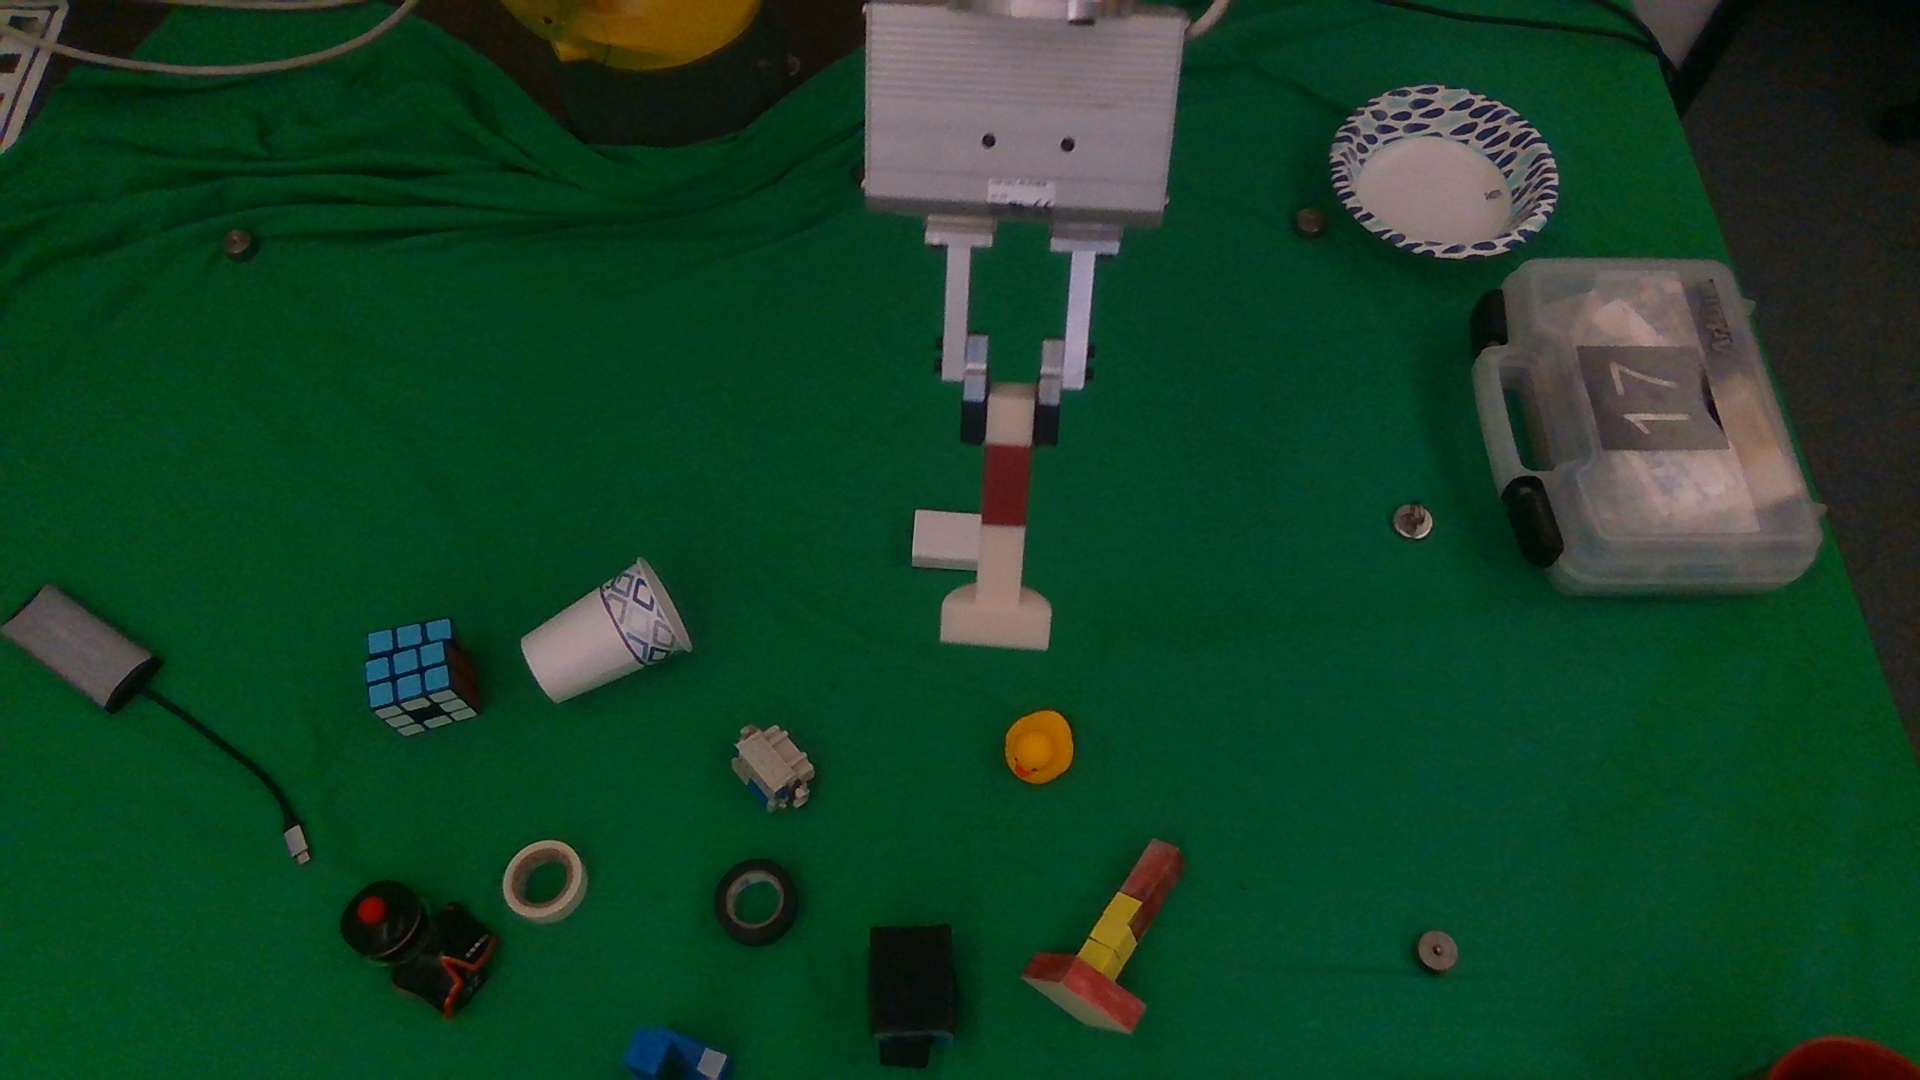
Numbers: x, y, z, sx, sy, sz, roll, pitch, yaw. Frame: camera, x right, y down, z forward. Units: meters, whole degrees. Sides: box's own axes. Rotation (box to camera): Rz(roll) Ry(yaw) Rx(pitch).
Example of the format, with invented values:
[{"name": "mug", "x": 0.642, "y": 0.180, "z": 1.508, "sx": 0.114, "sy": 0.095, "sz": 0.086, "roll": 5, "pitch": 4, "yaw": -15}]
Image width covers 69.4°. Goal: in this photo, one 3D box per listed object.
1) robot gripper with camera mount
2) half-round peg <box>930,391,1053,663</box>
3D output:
[{"name": "robot gripper with camera mount", "x": 0.021, "y": -0.146, "z": 0.631, "sx": 0.119, "sy": 0.158, "sz": 0.193, "roll": 6, "pitch": 29, "yaw": 3}, {"name": "half-round peg", "x": 0.017, "y": -0.005, "z": 0.610, "sx": 0.054, "sy": 0.122, "sz": 0.031, "roll": 5, "pitch": 25, "yaw": 5}]
